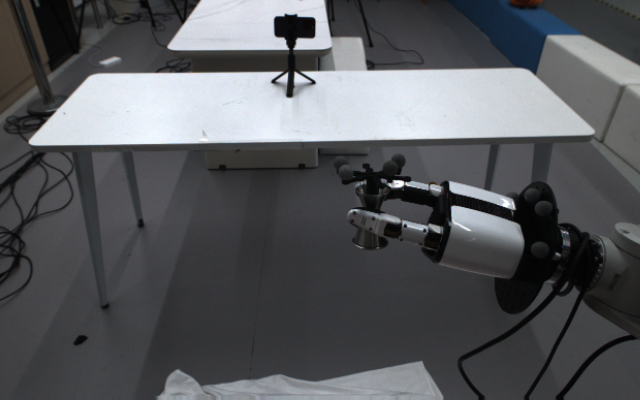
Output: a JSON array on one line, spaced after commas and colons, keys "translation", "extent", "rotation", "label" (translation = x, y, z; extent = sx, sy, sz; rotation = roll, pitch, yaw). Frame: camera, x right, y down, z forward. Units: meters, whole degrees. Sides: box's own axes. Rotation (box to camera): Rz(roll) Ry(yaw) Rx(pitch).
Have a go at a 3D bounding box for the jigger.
[{"translation": [0.061, 0.020, 0.577], "extent": [0.043, 0.071, 0.043], "rotation": [0, 21, 0], "label": "jigger"}]
